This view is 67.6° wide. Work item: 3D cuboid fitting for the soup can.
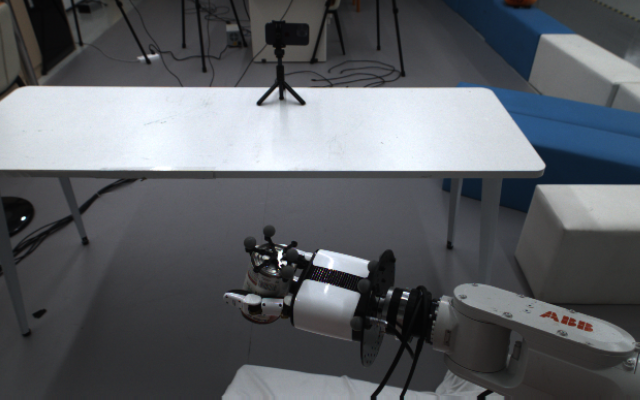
[{"bbox_3d":[-0.074,0.122,0.698,0.067,0.101,0.067,13,35,-9],"label":"soup can"}]
